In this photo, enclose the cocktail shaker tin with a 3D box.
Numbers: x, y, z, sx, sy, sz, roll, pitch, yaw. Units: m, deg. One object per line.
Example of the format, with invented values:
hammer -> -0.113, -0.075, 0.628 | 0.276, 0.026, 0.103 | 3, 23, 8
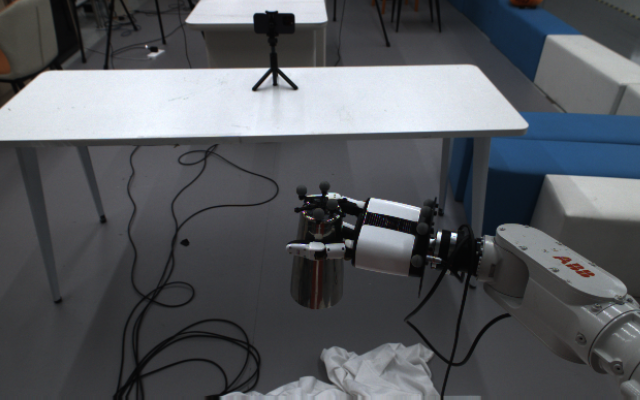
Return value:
cocktail shaker tin -> 0.001, 0.083, 0.798 | 0.093, 0.170, 0.093 | 2, 33, -1
